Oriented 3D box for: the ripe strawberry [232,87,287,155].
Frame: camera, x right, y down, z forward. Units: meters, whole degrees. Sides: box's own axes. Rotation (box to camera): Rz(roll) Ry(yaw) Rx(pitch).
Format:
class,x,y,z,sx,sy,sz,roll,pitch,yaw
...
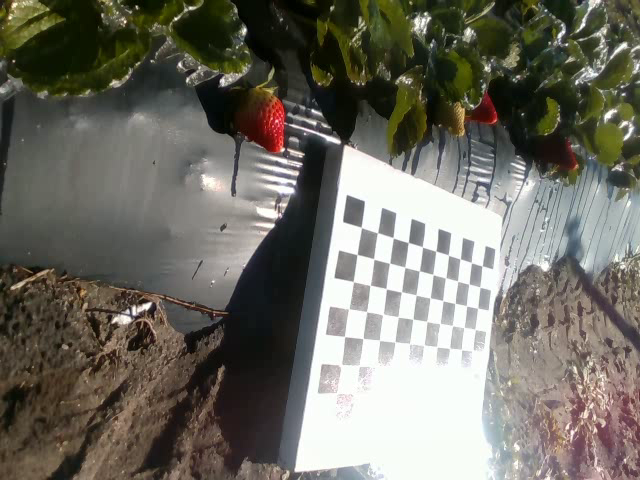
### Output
class,x,y,z,sx,sy,sz,roll,pitch,yaw
ripe strawberry,-0.042,-0.084,0.398,0.039,0.053,0.040,-15,-4,-43
